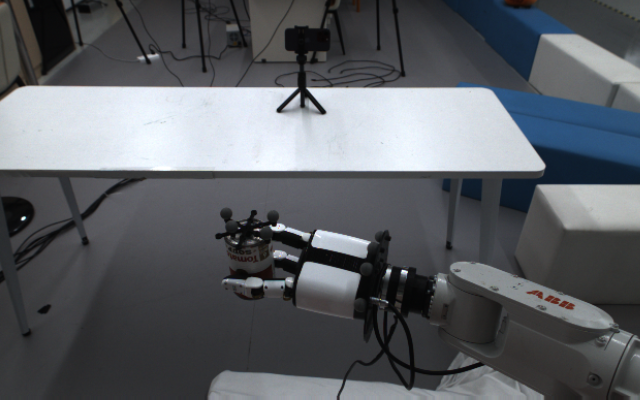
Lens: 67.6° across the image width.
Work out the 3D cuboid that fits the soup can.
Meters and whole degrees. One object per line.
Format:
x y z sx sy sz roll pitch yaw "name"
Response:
-0.099 0.088 0.710 0.067 0.101 0.067 -2 34 1 "soup can"
